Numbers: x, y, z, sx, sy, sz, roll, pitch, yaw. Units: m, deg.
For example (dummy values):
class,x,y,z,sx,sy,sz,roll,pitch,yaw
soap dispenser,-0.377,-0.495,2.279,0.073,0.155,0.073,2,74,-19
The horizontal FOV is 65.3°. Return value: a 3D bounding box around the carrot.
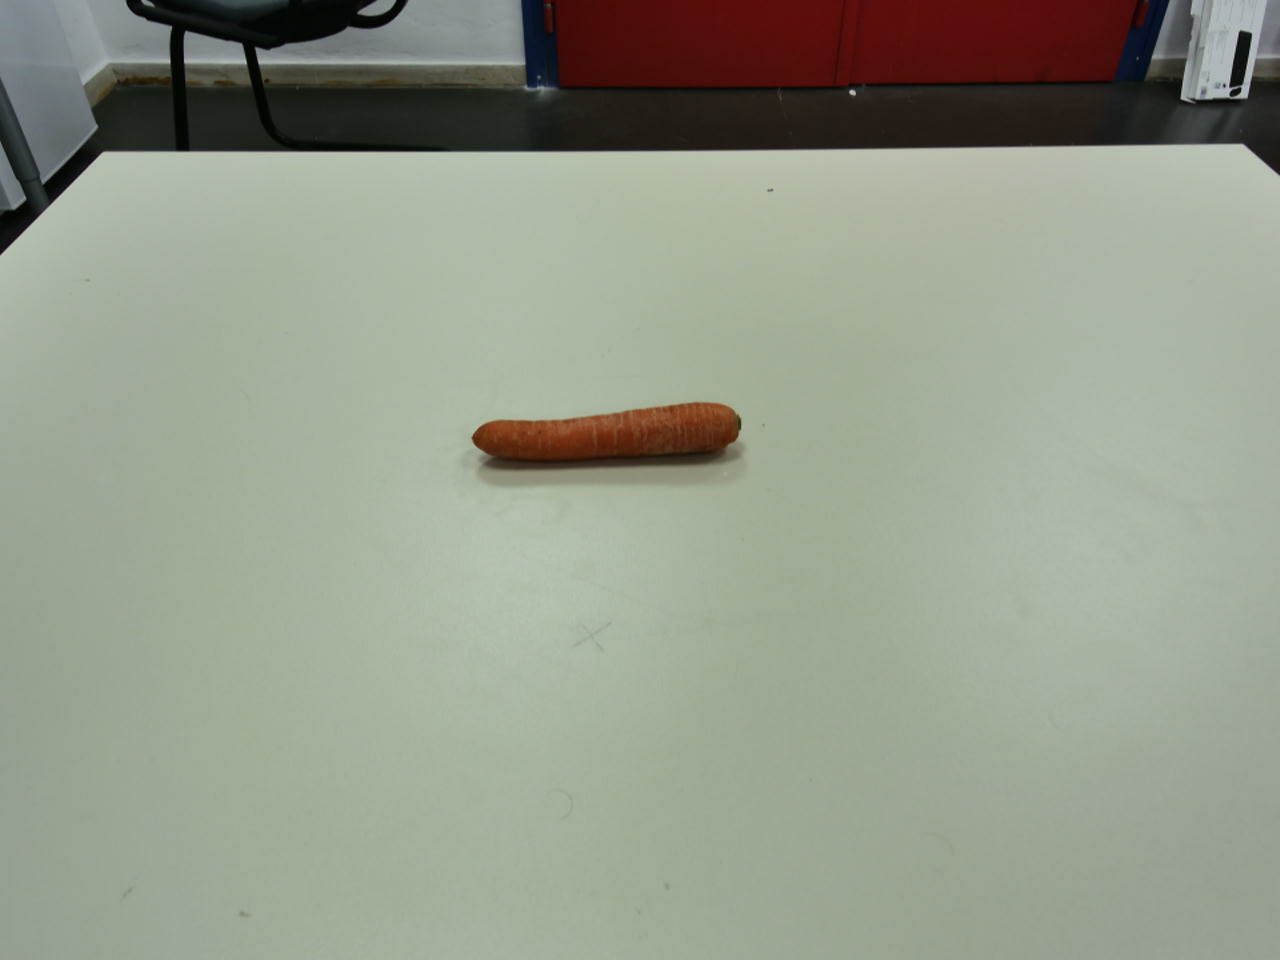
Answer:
class,x,y,z,sx,sy,sz,roll,pitch,yaw
carrot,-0.014,-0.022,0.456,0.122,0.023,0.024,-2,38,-2
